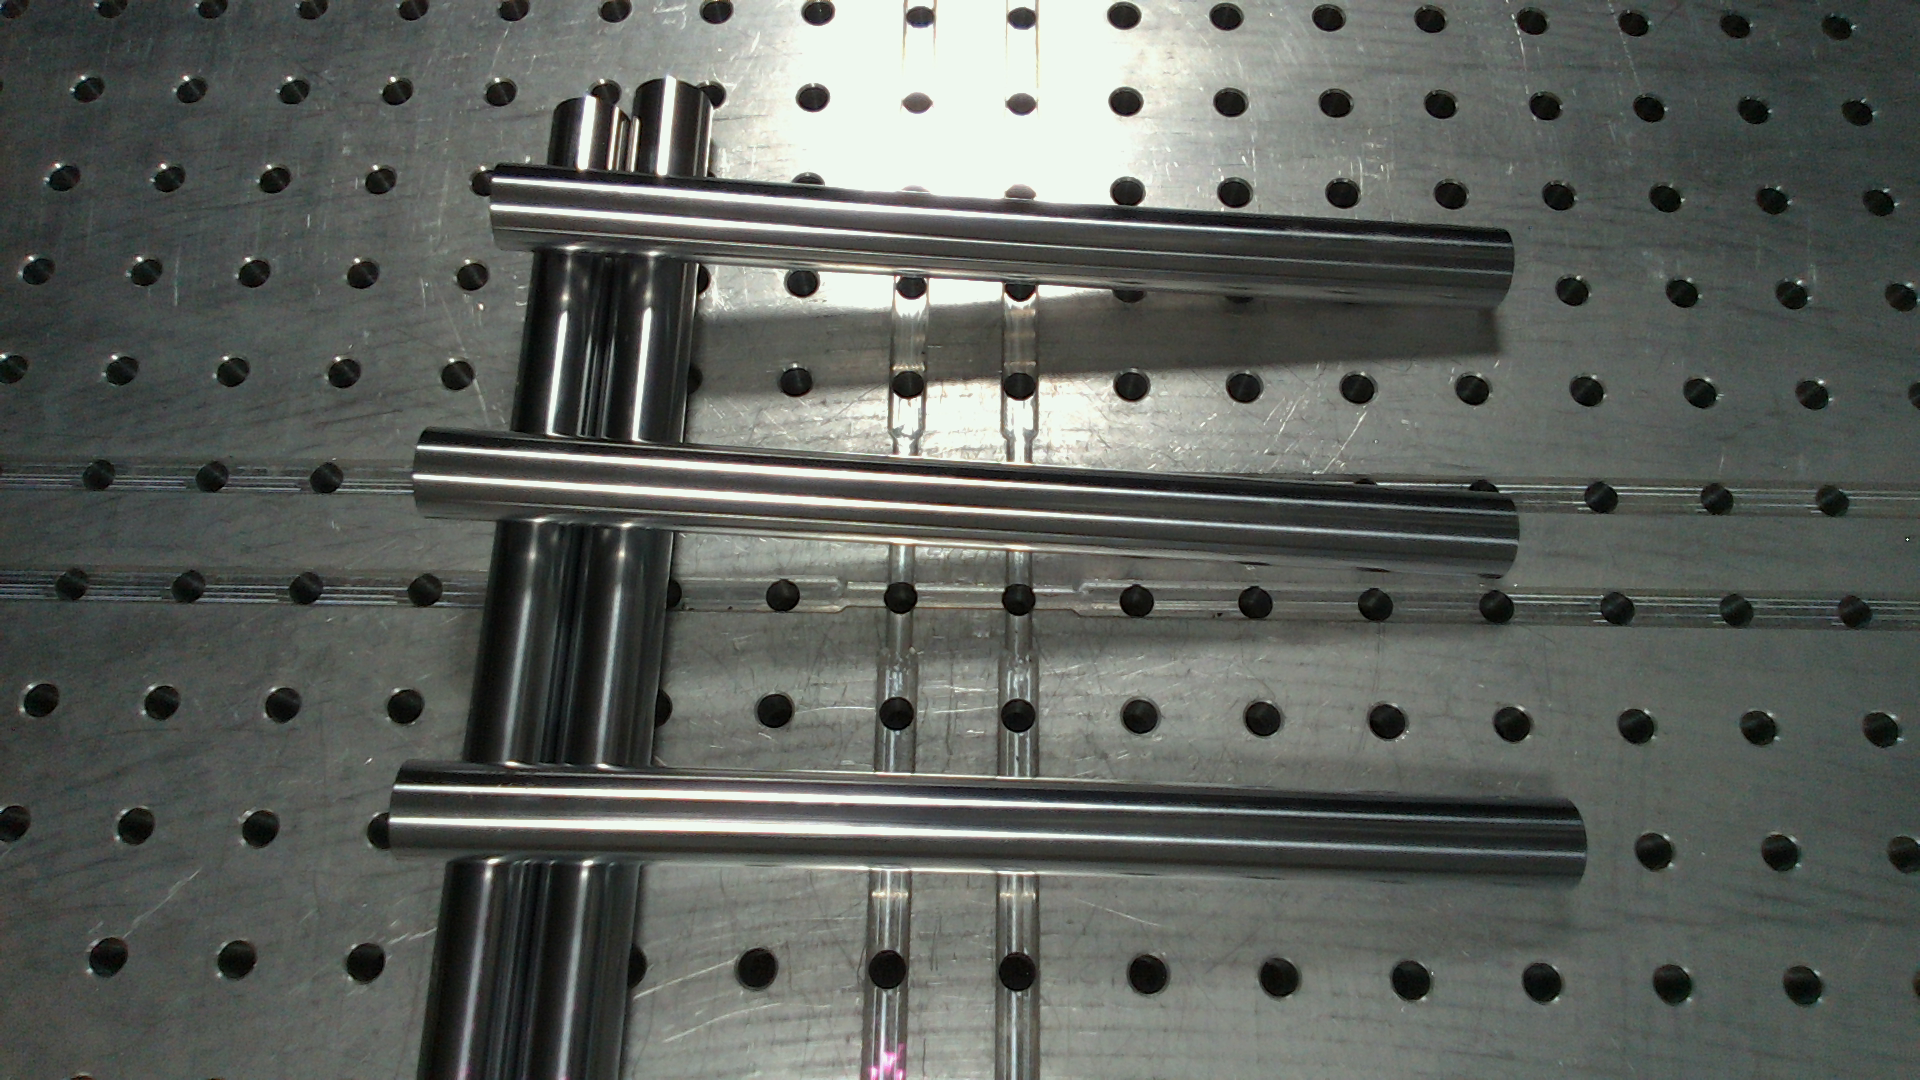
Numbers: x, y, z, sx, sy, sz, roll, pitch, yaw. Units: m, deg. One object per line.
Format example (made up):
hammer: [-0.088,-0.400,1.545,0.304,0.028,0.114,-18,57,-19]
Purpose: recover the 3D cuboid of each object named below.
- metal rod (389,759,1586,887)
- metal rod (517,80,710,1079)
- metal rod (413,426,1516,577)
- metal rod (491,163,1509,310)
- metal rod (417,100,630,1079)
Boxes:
metal rod: [0.012,0.074,0.355,0.300,0.025,0.025,3,70,-6]
metal rod: [-0.096,-0.001,0.396,0.025,0.025,0.300,1,70,0]
metal rod: [0.006,-0.010,0.384,0.300,0.025,0.025,3,70,-5]
metal rod: [0.016,-0.090,0.415,0.300,0.025,0.025,2,70,-5]
metal rod: [-0.121,0.006,0.394,0.025,0.025,0.300,1,70,0]
